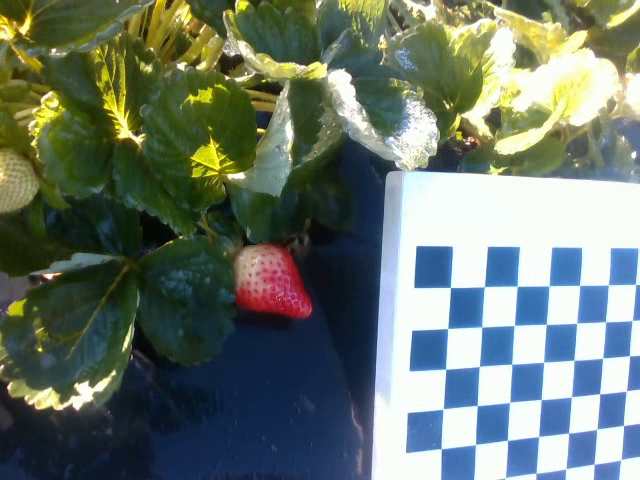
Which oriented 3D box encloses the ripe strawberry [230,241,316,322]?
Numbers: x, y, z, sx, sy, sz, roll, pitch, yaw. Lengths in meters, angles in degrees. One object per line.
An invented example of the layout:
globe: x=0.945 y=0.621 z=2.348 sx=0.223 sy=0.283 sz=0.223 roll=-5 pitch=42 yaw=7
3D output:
ripe strawberry: x=-0.027 y=0.032 z=0.368 sx=0.065 sy=0.040 sz=0.040 roll=44 pitch=-14 yaw=-18
